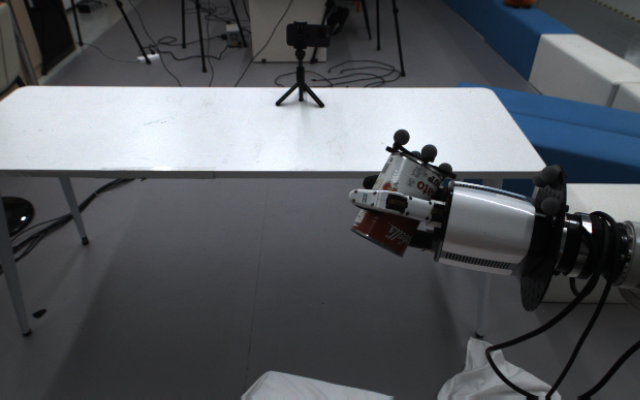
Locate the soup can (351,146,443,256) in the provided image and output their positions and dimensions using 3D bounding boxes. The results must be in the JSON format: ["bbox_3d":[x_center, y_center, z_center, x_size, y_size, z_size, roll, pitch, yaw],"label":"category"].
[{"bbox_3d":[0.089,0.005,0.551,0.067,0.101,0.067,28,-2,1],"label":"soup can"}]
